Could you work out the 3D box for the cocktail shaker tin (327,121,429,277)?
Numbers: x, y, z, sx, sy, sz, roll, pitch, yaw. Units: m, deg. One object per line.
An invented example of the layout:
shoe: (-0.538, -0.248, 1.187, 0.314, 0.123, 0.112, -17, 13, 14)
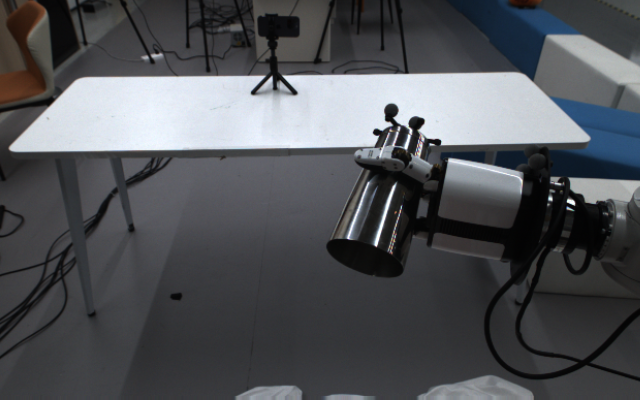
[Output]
cocktail shaker tin: (0.080, -0.004, 0.579, 0.093, 0.093, 0.170, 14, 62, 17)
